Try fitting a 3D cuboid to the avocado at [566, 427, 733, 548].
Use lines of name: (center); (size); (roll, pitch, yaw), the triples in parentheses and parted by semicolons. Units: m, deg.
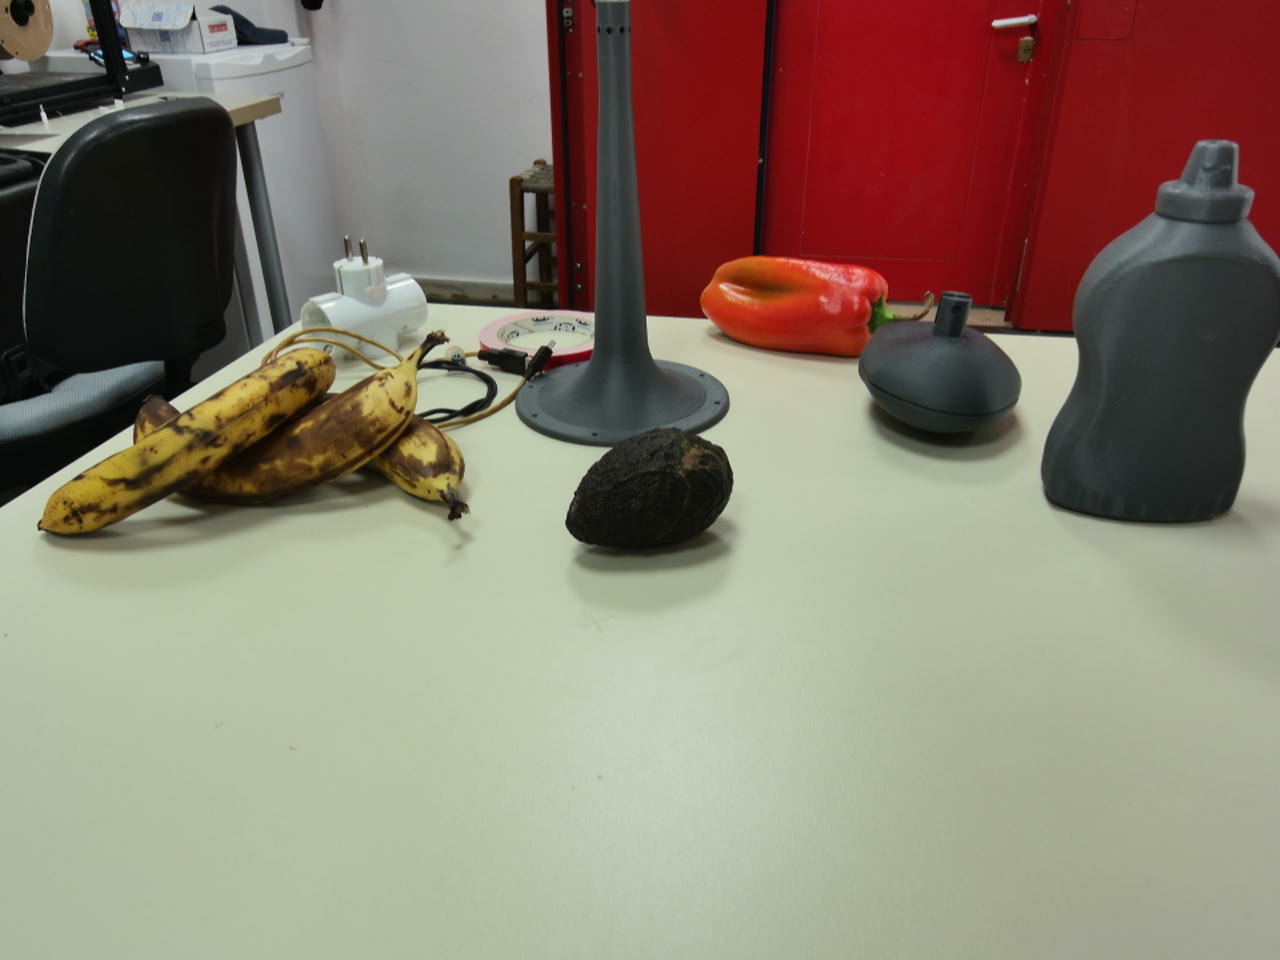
avocado: (0.004, 0.004, 0.534); (0.092, 0.062, 0.062); (-6, 26, -10)
